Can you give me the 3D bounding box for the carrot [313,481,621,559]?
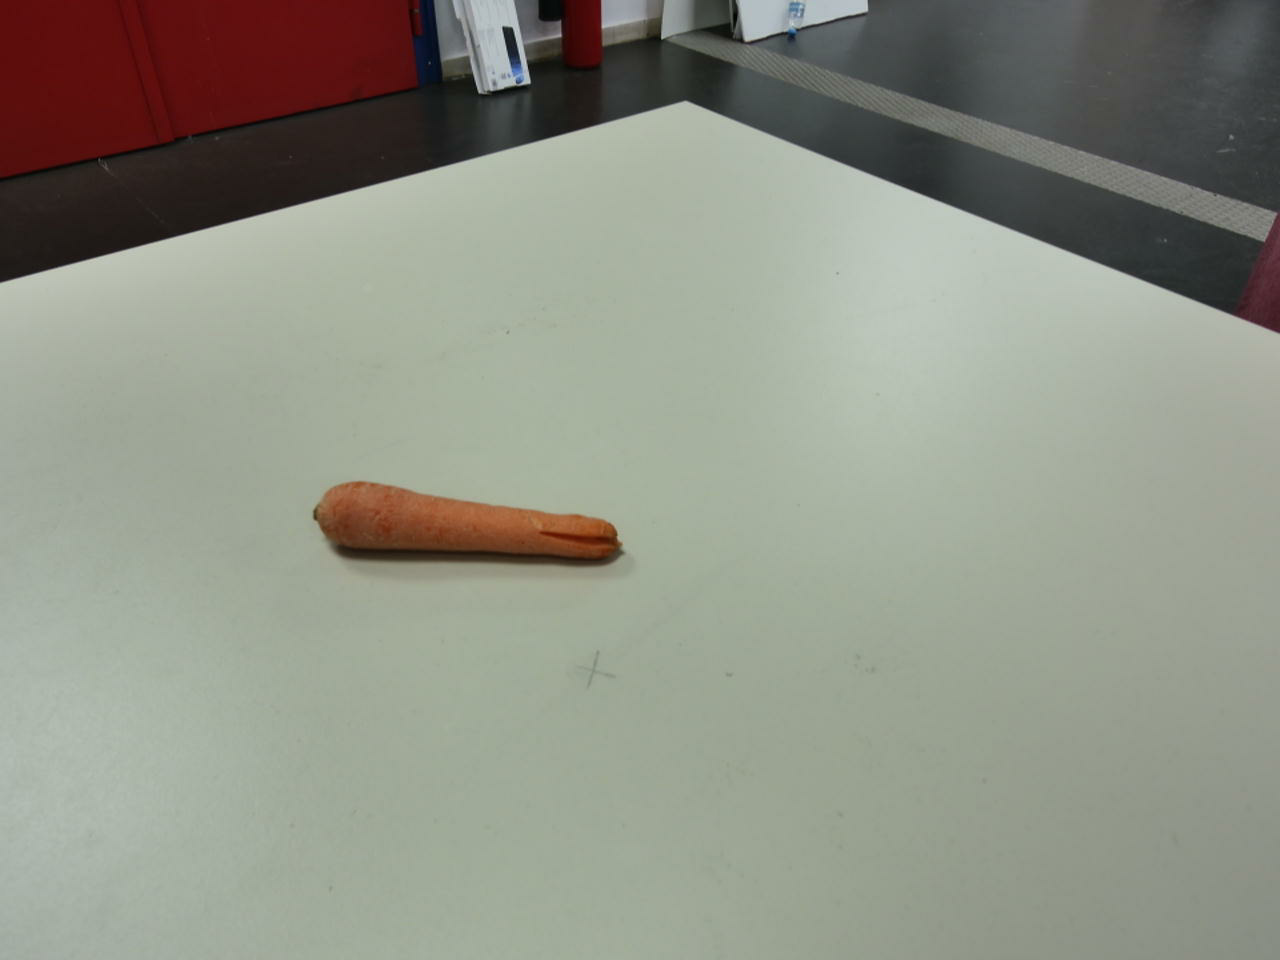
[{"bbox_3d":[-0.076,0.019,0.441,0.136,0.032,0.030,3,37,4],"label":"carrot"}]
